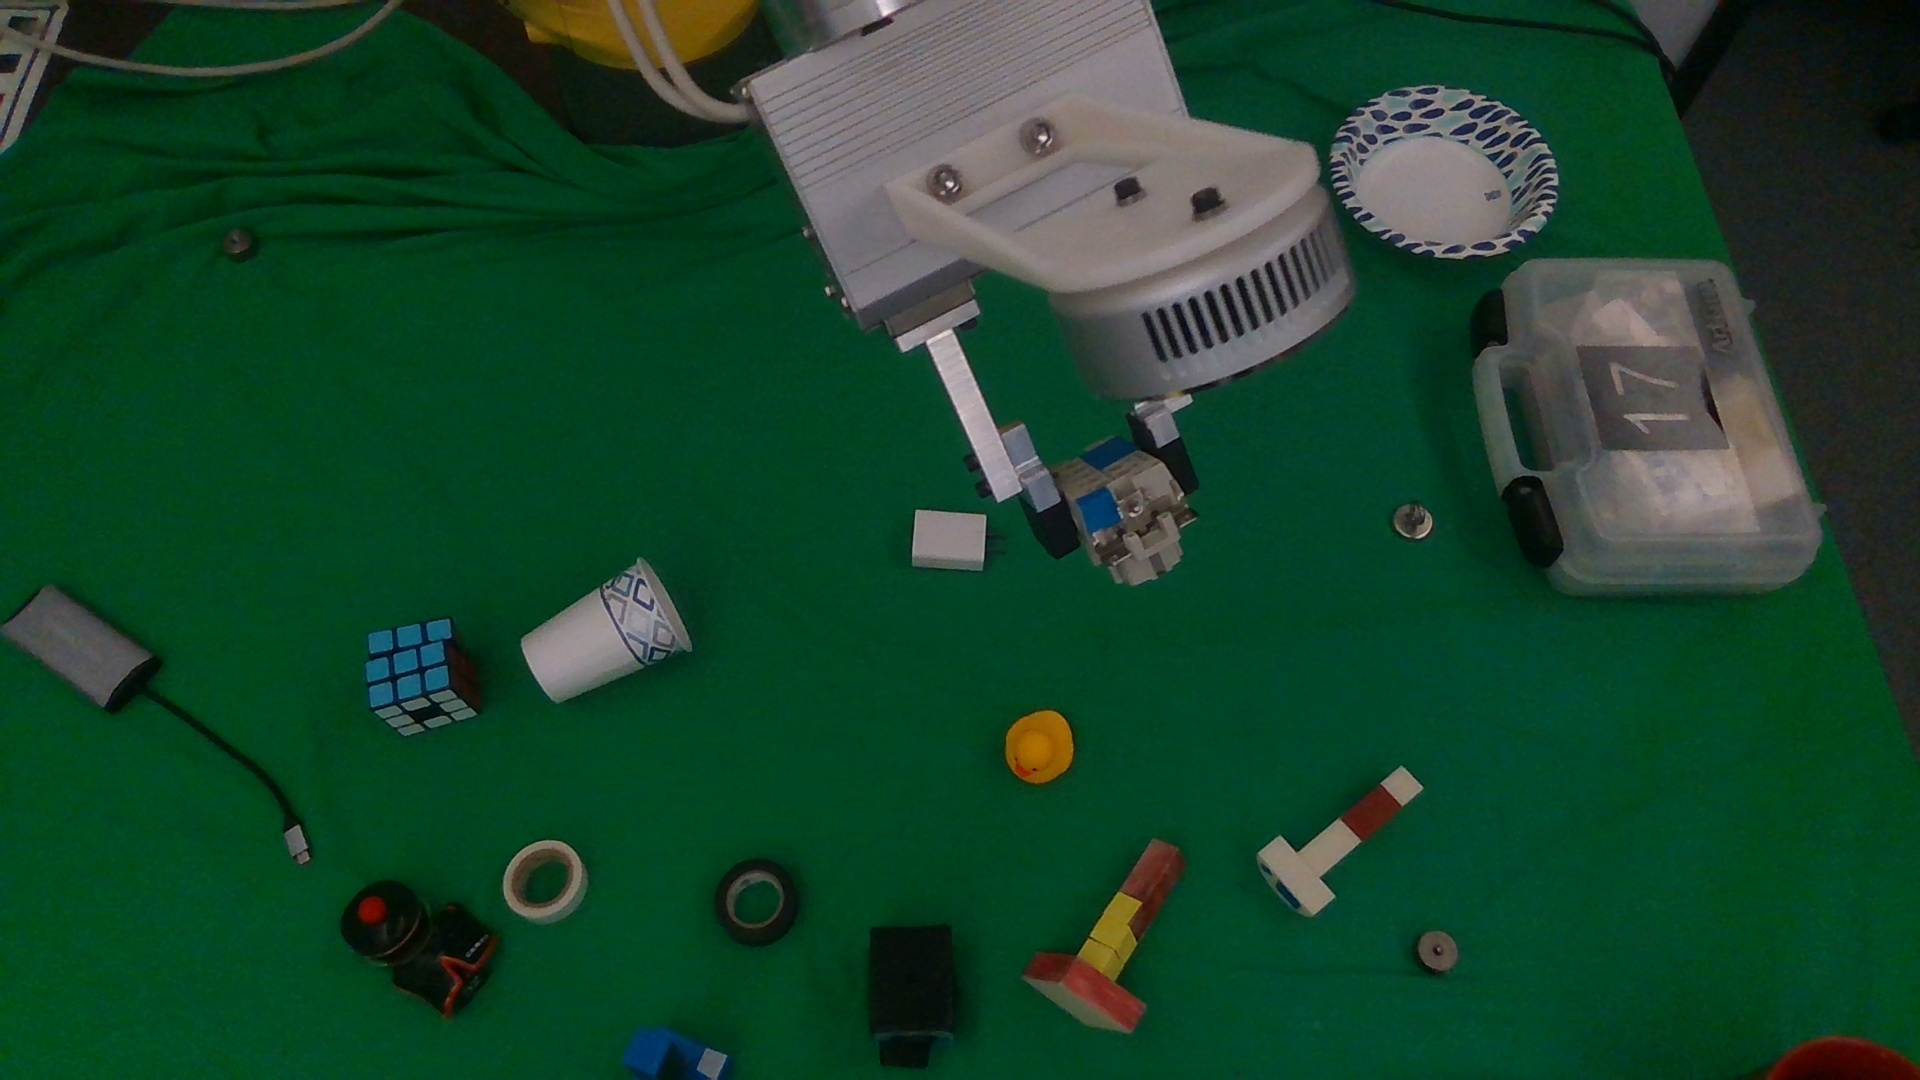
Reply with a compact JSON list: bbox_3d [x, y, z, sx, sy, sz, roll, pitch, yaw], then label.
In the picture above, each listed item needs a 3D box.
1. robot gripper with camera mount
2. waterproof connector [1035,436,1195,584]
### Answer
[{"bbox_3d":[0.046,-0.054,0.356,0.119,0.194,0.158,-26,110,-8],"label":"robot gripper with camera mount"},{"bbox_3d":[0.051,-0.009,0.459,0.035,0.065,0.037,-31,108,-8],"label":"waterproof connector"}]
